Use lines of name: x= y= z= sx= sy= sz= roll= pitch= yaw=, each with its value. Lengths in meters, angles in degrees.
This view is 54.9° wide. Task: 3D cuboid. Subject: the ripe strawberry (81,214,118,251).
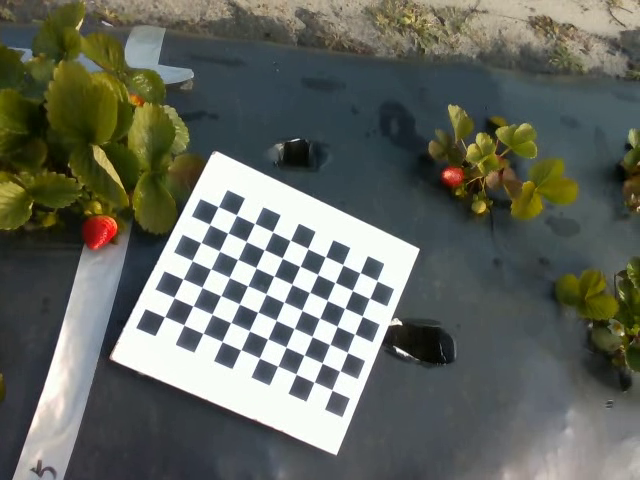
ripe strawberry: x=-0.238 y=-0.006 z=0.659 sx=0.050 sy=0.055 sz=0.036 roll=21 pitch=-31 yaw=-13
